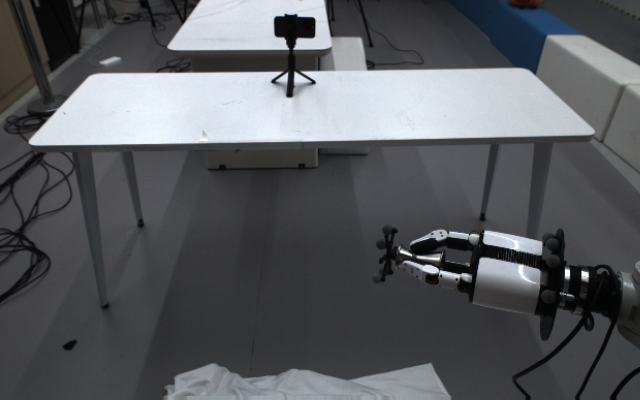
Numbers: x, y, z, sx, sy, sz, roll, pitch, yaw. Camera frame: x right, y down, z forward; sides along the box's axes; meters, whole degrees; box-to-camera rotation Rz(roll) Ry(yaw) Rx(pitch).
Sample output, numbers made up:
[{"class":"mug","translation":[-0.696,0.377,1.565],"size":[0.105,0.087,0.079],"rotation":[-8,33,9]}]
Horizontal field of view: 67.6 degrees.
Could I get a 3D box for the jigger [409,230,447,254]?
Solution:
[{"class":"jigger","translation":[0.161,0.089,0.745],"size":[0.071,0.043,0.043],"rotation":[8,34,23]}]
